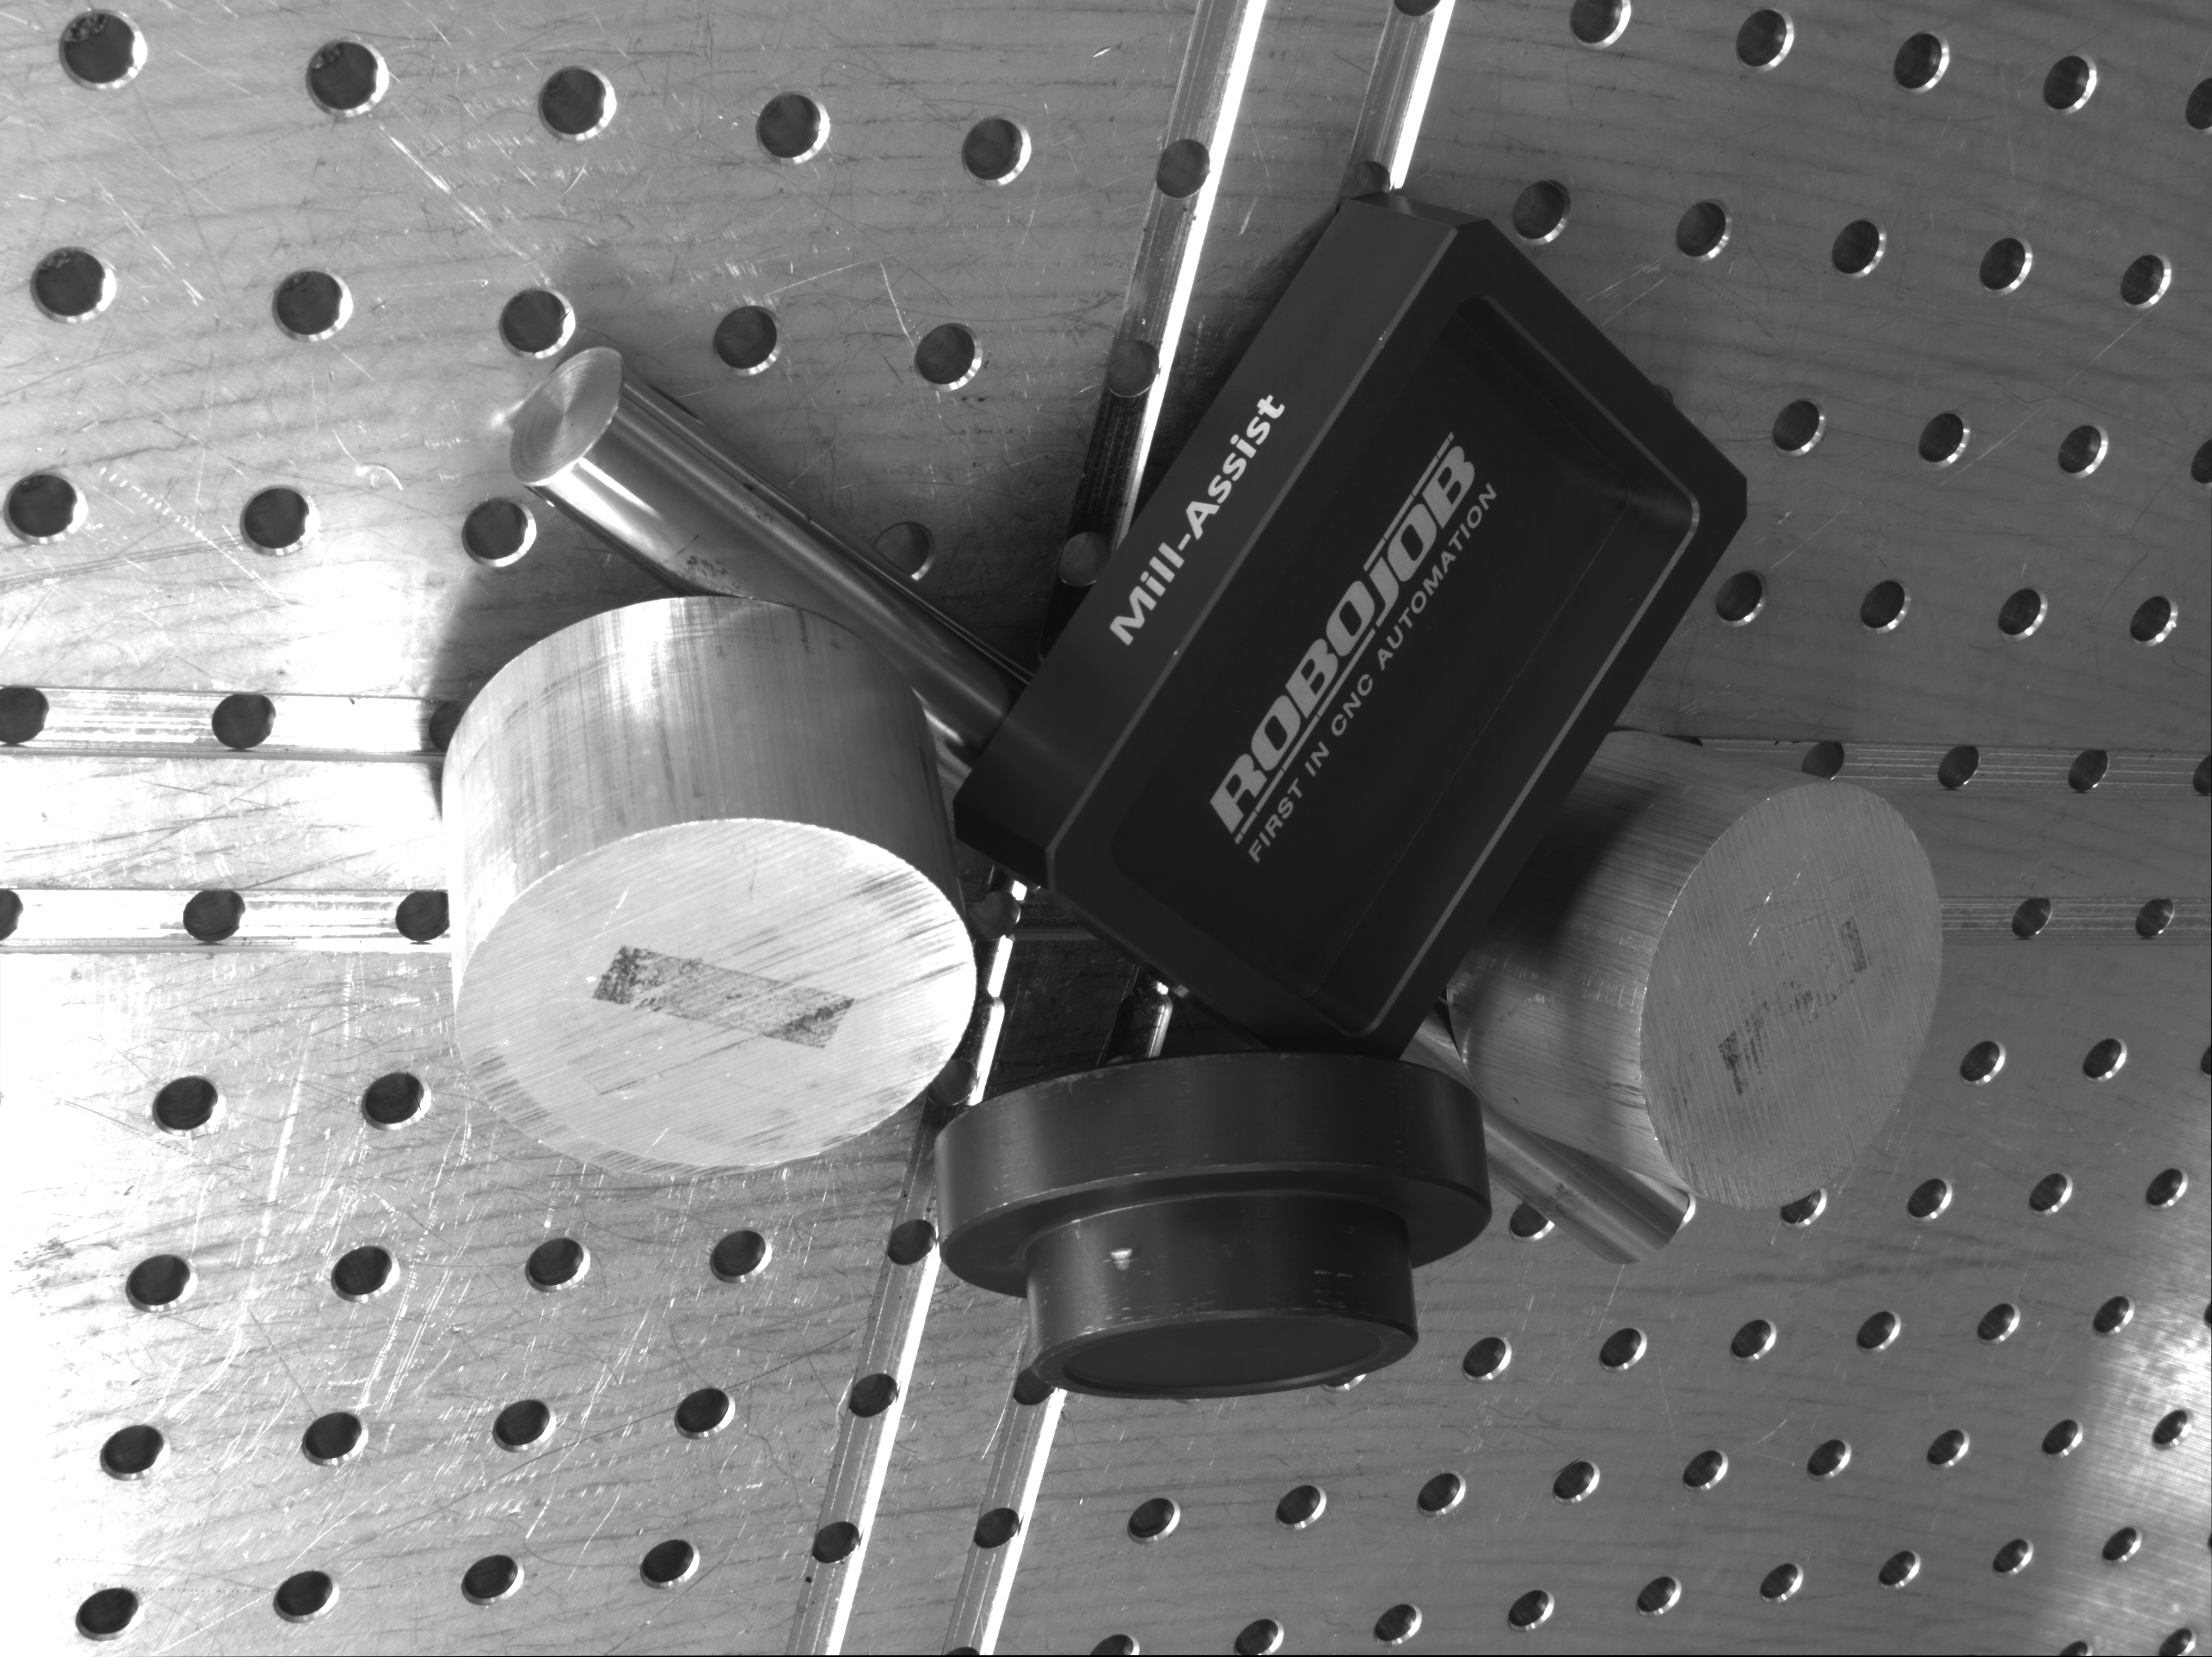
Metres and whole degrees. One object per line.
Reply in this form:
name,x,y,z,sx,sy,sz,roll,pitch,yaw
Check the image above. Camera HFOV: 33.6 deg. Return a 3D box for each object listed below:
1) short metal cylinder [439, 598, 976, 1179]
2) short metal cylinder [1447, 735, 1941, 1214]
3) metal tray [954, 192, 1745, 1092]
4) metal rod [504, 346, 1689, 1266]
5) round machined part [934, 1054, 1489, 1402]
short metal cylinder,-0.064,0.010,0.581,0.080,0.050,0.080,-7,135,-7
short metal cylinder,0.110,0.026,0.684,0.080,0.050,0.080,-11,108,-37
metal tray,0.044,-0.030,0.624,0.090,0.030,0.130,36,84,-38
metal rod,0.013,0.007,0.651,0.025,0.025,0.301,-49,128,6
round machined part,0.019,0.074,0.650,0.098,0.042,0.098,-4,160,-1
